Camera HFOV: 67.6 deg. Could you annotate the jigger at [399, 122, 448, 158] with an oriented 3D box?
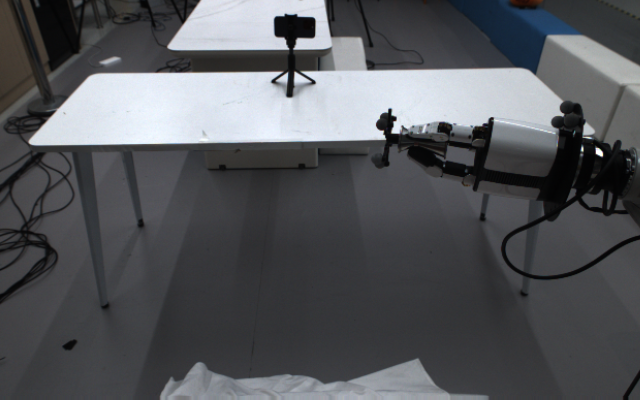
[{"bbox_3d":[0.156,-0.088,0.698,0.071,0.043,0.043,7,35,13],"label":"jigger"}]
